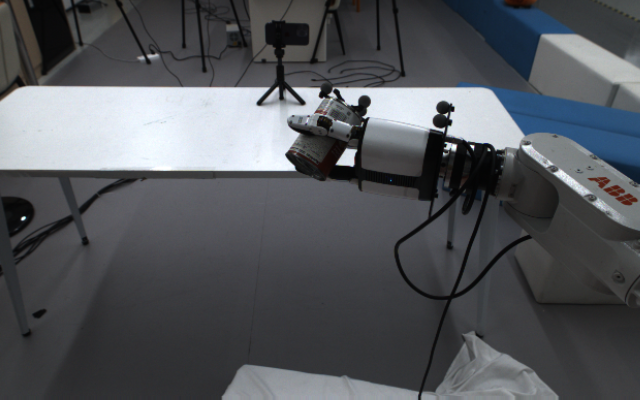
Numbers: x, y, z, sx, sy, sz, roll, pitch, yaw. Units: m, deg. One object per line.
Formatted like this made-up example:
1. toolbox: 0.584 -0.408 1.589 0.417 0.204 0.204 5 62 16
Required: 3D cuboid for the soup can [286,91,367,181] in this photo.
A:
1. soup can: 0.007 -0.088 0.690 0.067 0.067 0.101 27 79 31
